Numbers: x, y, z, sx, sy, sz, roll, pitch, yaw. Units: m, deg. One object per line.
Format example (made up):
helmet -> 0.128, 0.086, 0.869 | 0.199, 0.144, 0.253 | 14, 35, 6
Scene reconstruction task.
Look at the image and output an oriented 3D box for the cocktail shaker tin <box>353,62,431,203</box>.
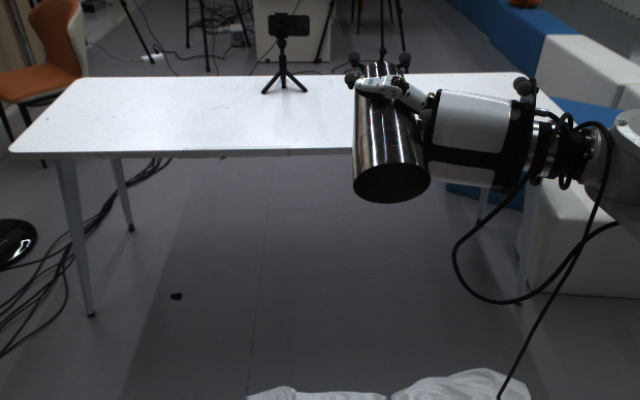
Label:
cocktail shaker tin -> 0.082, -0.092, 0.610 | 0.093, 0.093, 0.170 | 0, 59, -3
